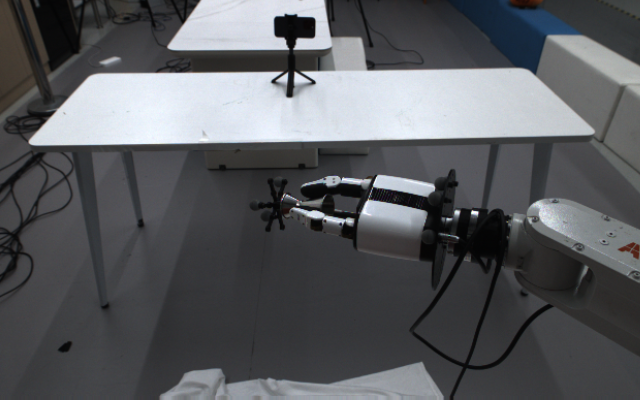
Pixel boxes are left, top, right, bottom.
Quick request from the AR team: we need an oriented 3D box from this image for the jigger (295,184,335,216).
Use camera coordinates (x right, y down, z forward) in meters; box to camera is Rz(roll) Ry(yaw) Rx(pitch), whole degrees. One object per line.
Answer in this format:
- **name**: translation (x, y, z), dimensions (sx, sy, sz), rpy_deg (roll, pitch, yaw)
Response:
- **jigger**: translation (-0.011, 0.004, 0.699), dimensions (0.071, 0.043, 0.043), rpy_deg (3, 32, 25)
